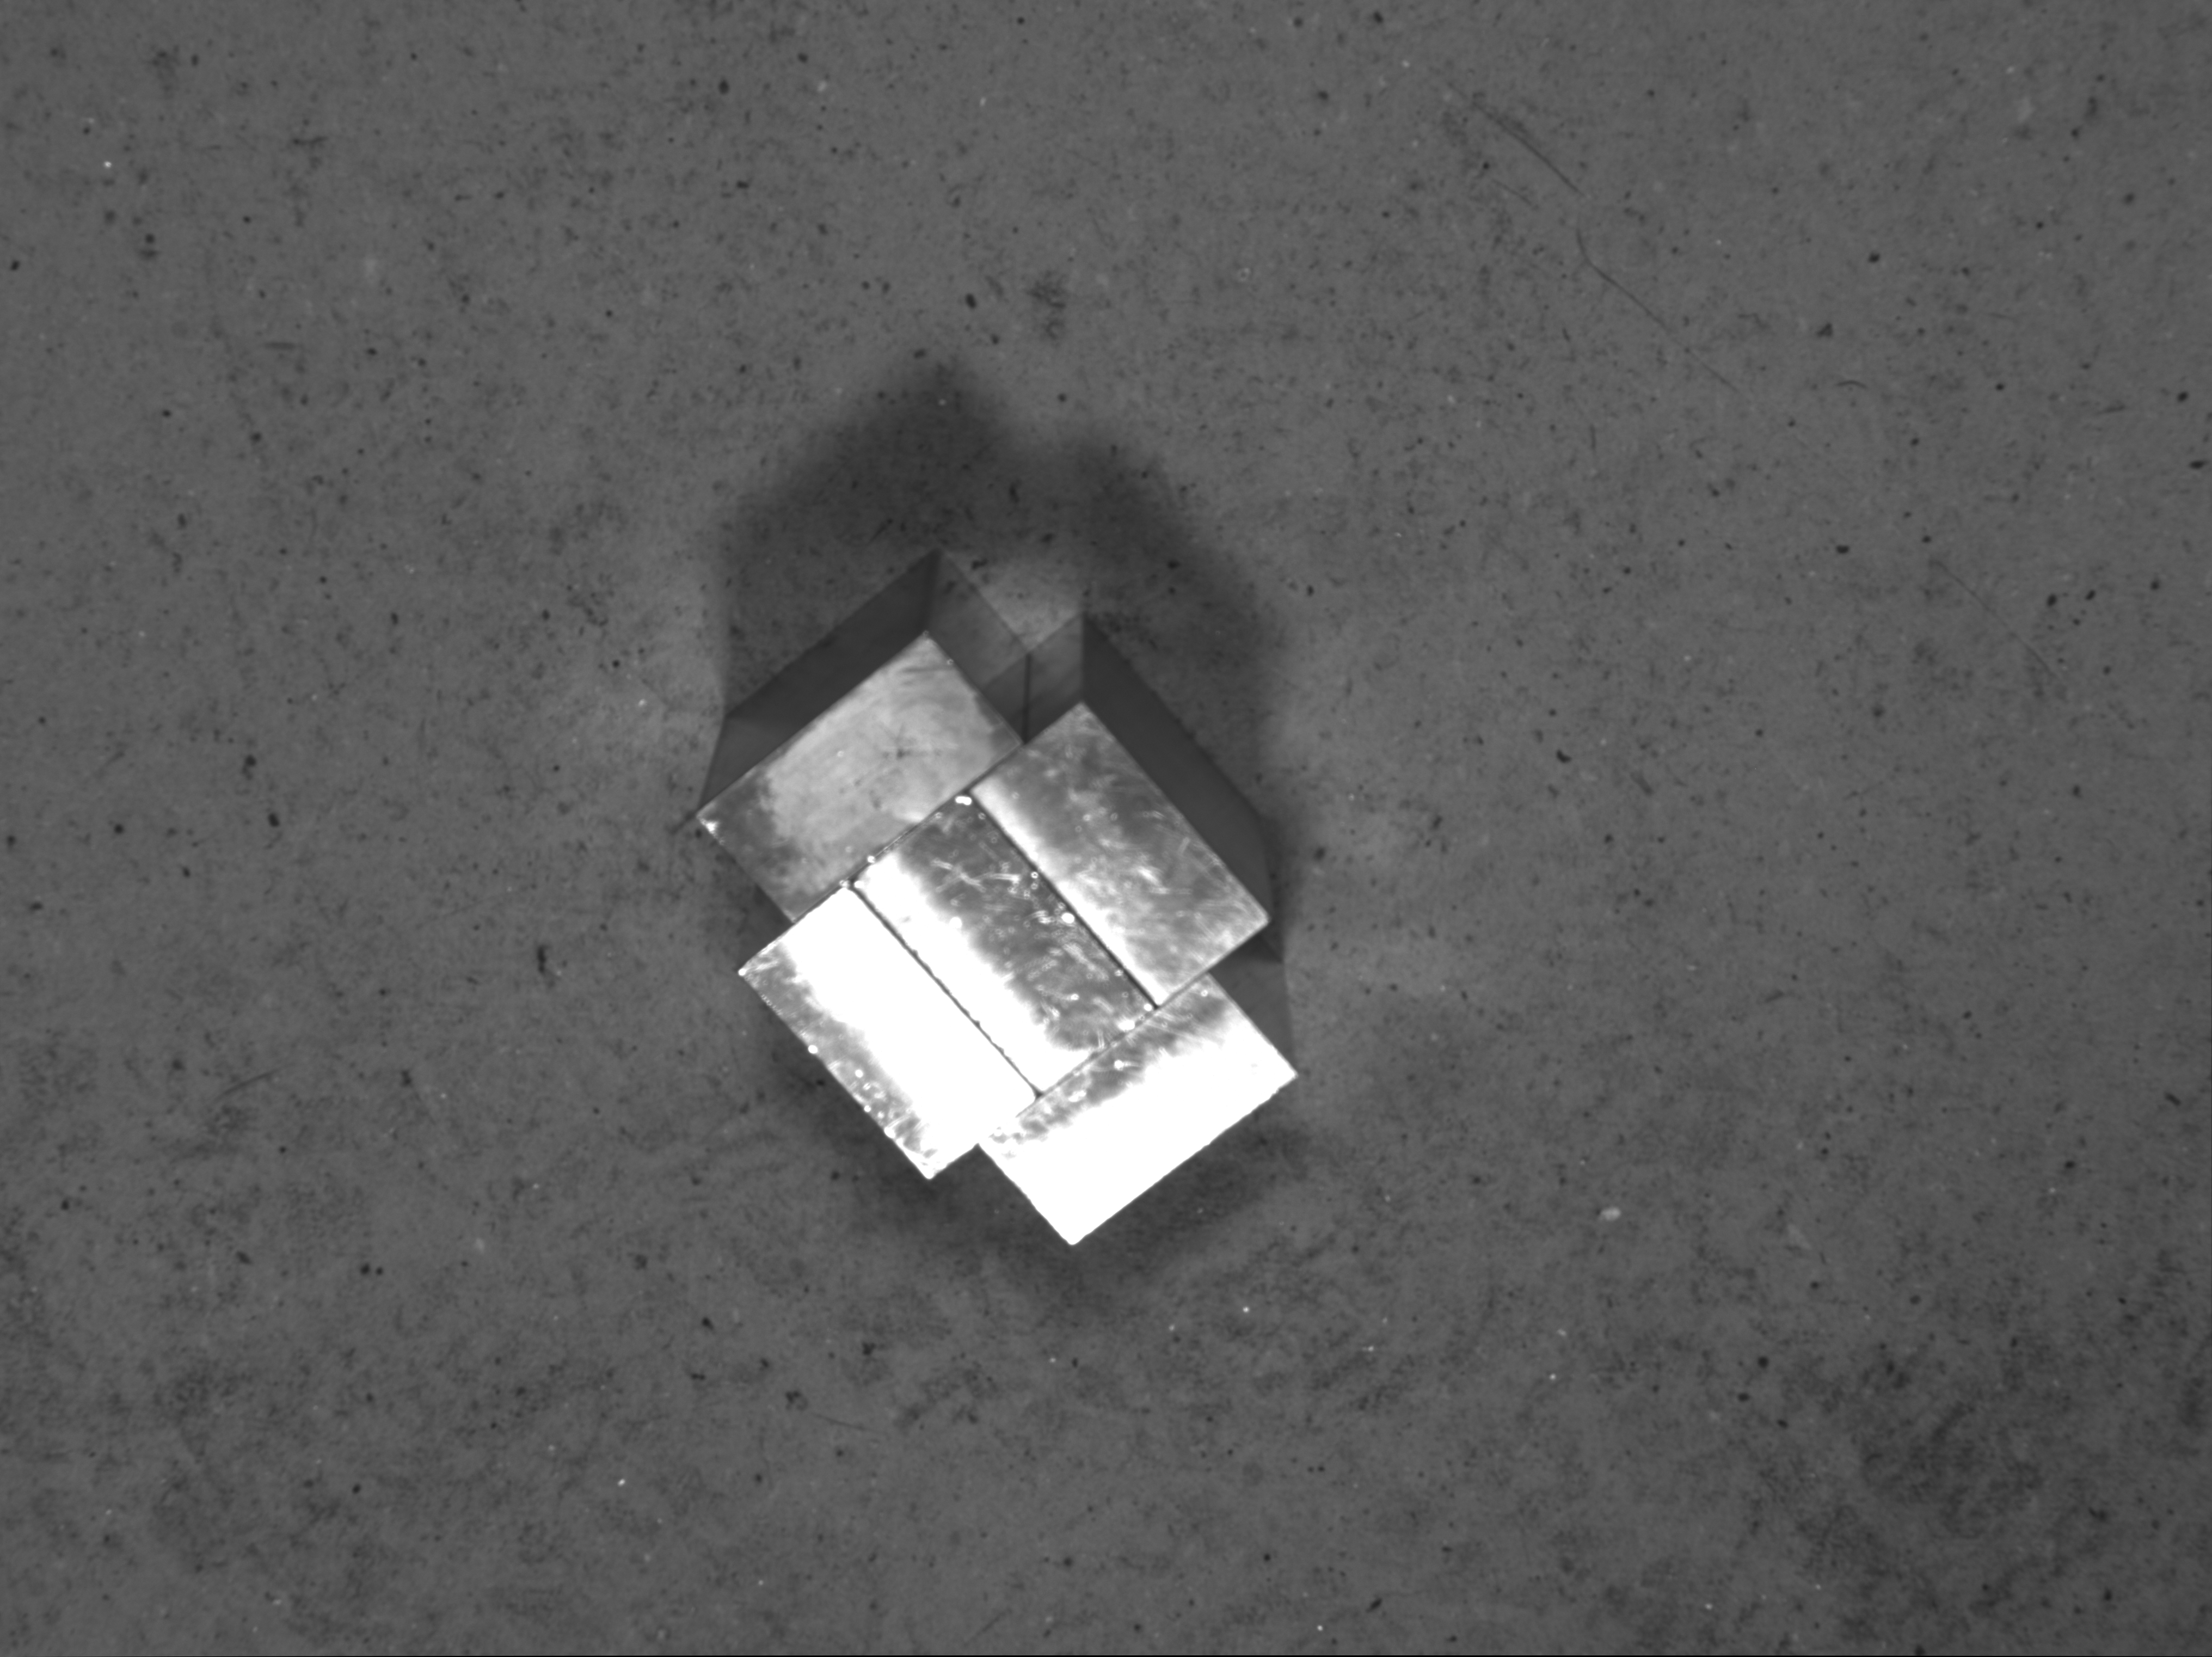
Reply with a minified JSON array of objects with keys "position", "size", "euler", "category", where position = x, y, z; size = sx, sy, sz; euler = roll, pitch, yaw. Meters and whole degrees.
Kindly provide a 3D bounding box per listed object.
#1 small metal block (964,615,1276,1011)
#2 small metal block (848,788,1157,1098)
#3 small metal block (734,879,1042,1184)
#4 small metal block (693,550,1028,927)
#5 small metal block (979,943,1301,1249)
[{"position":[0.002,-0.003,0.628],"size":[0.025,0.050,0.050],"euler":[-39,106,12],"category":"small metal block"},{"position":[-0.017,0.011,0.633],"size":[0.025,0.050,0.050],"euler":[-38,106,12],"category":"small metal block"},{"position":[-0.037,0.027,0.638],"size":[0.025,0.050,0.050],"euler":[-38,106,12],"category":"small metal block"},{"position":[-0.041,-0.016,0.623],"size":[0.050,0.050,0.025],"euler":[-38,106,12],"category":"small metal block"},{"position":[0.006,0.040,0.644],"size":[0.050,0.050,0.025],"euler":[-38,106,12],"category":"small metal block"}]
